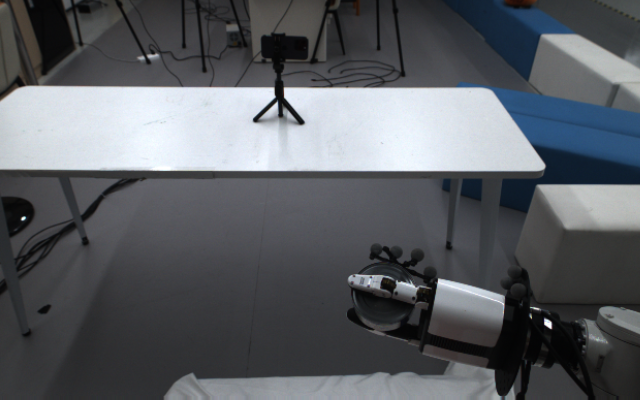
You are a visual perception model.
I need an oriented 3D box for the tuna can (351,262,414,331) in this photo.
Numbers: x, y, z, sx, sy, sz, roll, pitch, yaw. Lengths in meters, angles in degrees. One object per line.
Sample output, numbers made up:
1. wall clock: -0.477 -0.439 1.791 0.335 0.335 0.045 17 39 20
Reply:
1. tuna can: 0.087 0.126 0.639 0.085 0.034 0.085 -4 55 6
